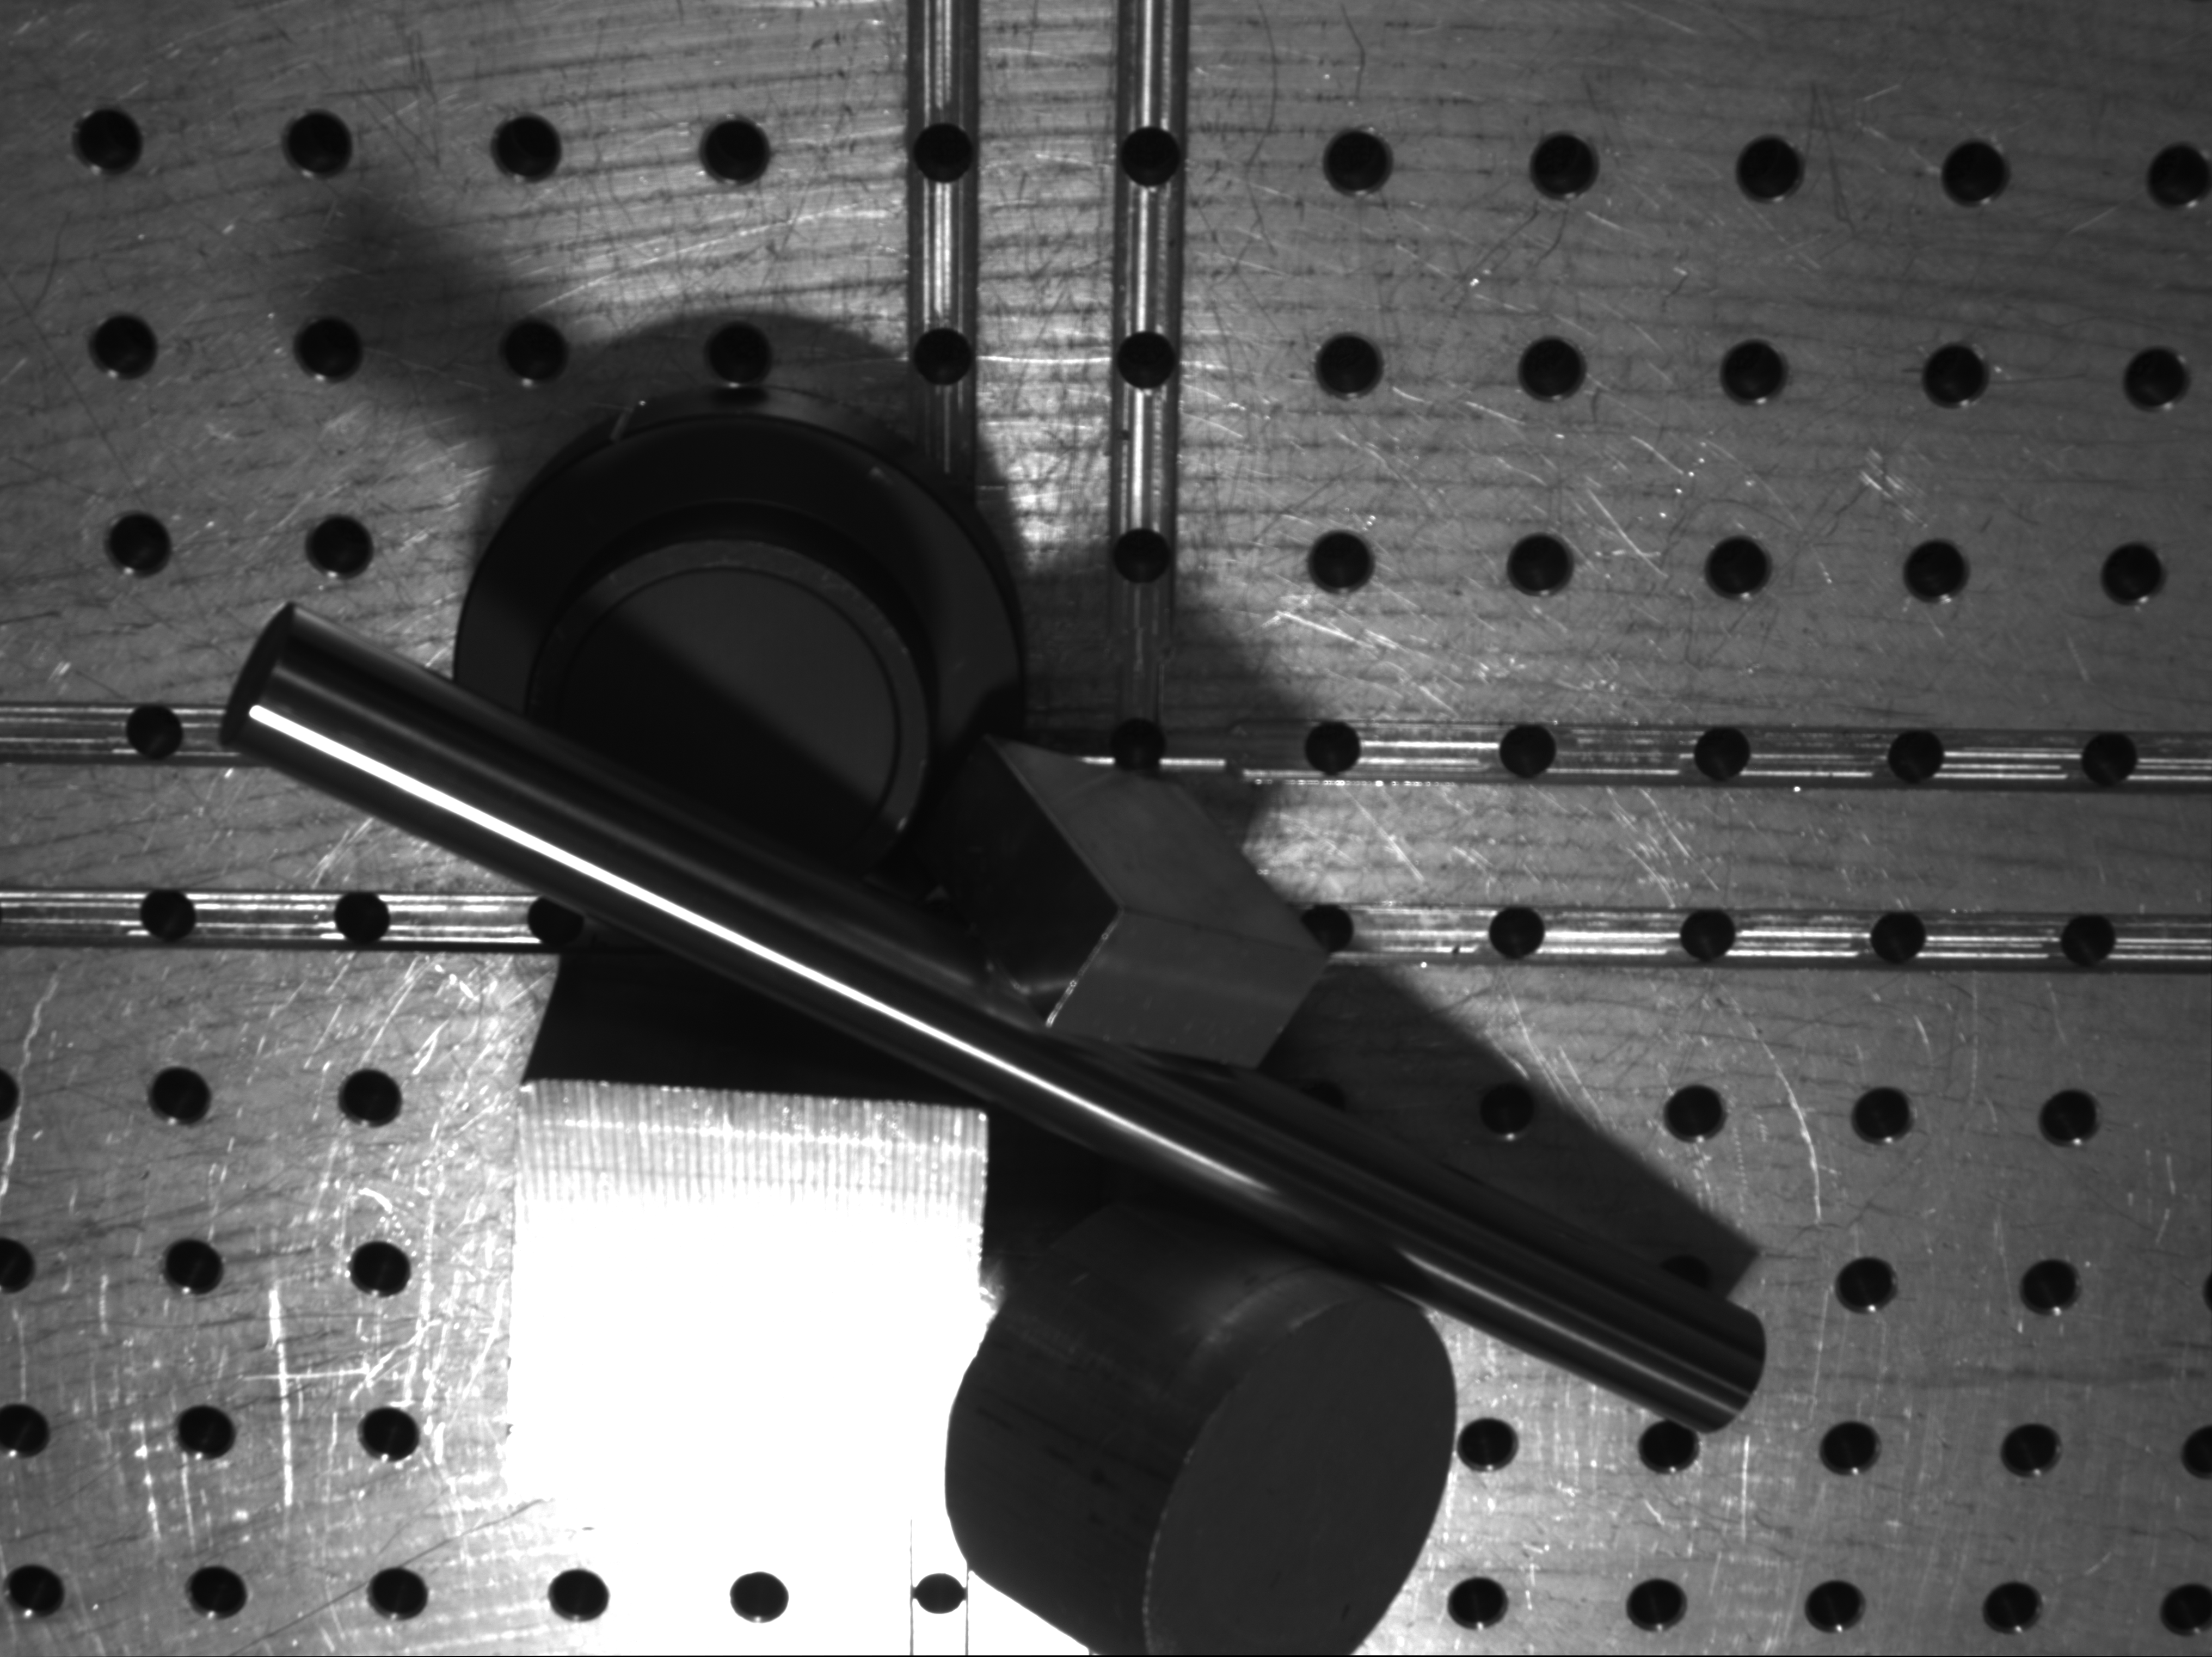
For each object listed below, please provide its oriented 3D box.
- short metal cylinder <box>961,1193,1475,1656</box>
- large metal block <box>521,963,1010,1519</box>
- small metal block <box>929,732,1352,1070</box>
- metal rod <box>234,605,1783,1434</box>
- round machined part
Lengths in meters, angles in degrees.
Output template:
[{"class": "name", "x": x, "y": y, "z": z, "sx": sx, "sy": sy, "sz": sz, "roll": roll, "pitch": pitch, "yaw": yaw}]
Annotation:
[{"class": "short metal cylinder", "x": 0.021, "y": 0.111, "z": 0.650, "sx": 0.080, "sy": 0.050, "sz": 0.080, "roll": -23, "pitch": 124, "yaw": -40}, {"class": "large metal block", "x": -0.060, "y": 0.073, "z": 0.656, "sx": 0.080, "sy": 0.050, "sz": 0.080, "roll": 4, "pitch": 110, "yaw": -2}, {"class": "small metal block", "x": 0.006, "y": 0.013, "z": 0.627, "sx": 0.050, "sy": 0.050, "sz": 0.025, "roll": 14, "pitch": 117, "yaw": -42}, {"class": "metal rod", "x": -0.006, "y": 0.039, "z": 0.625, "sx": 0.301, "sy": 0.025, "sz": 0.025, "roll": 27, "pitch": 108, "yaw": -23}, {"class": "round machined part", "x": -0.060, "y": -0.023, "z": 0.627, "sx": 0.098, "sy": 0.042, "sz": 0.098, "roll": 0, "pitch": 110, "yaw": -1}]
